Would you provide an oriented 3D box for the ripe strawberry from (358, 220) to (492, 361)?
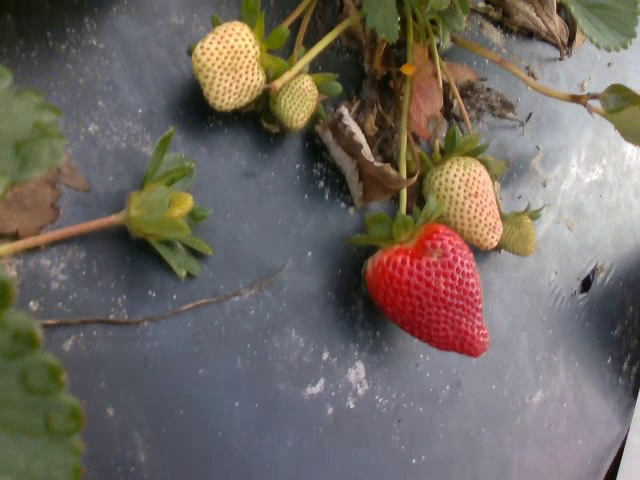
[{"bbox_3d":[0.045,0.020,0.245,0.050,0.059,0.034,-35,-8,-35],"label":"ripe strawberry"}]
